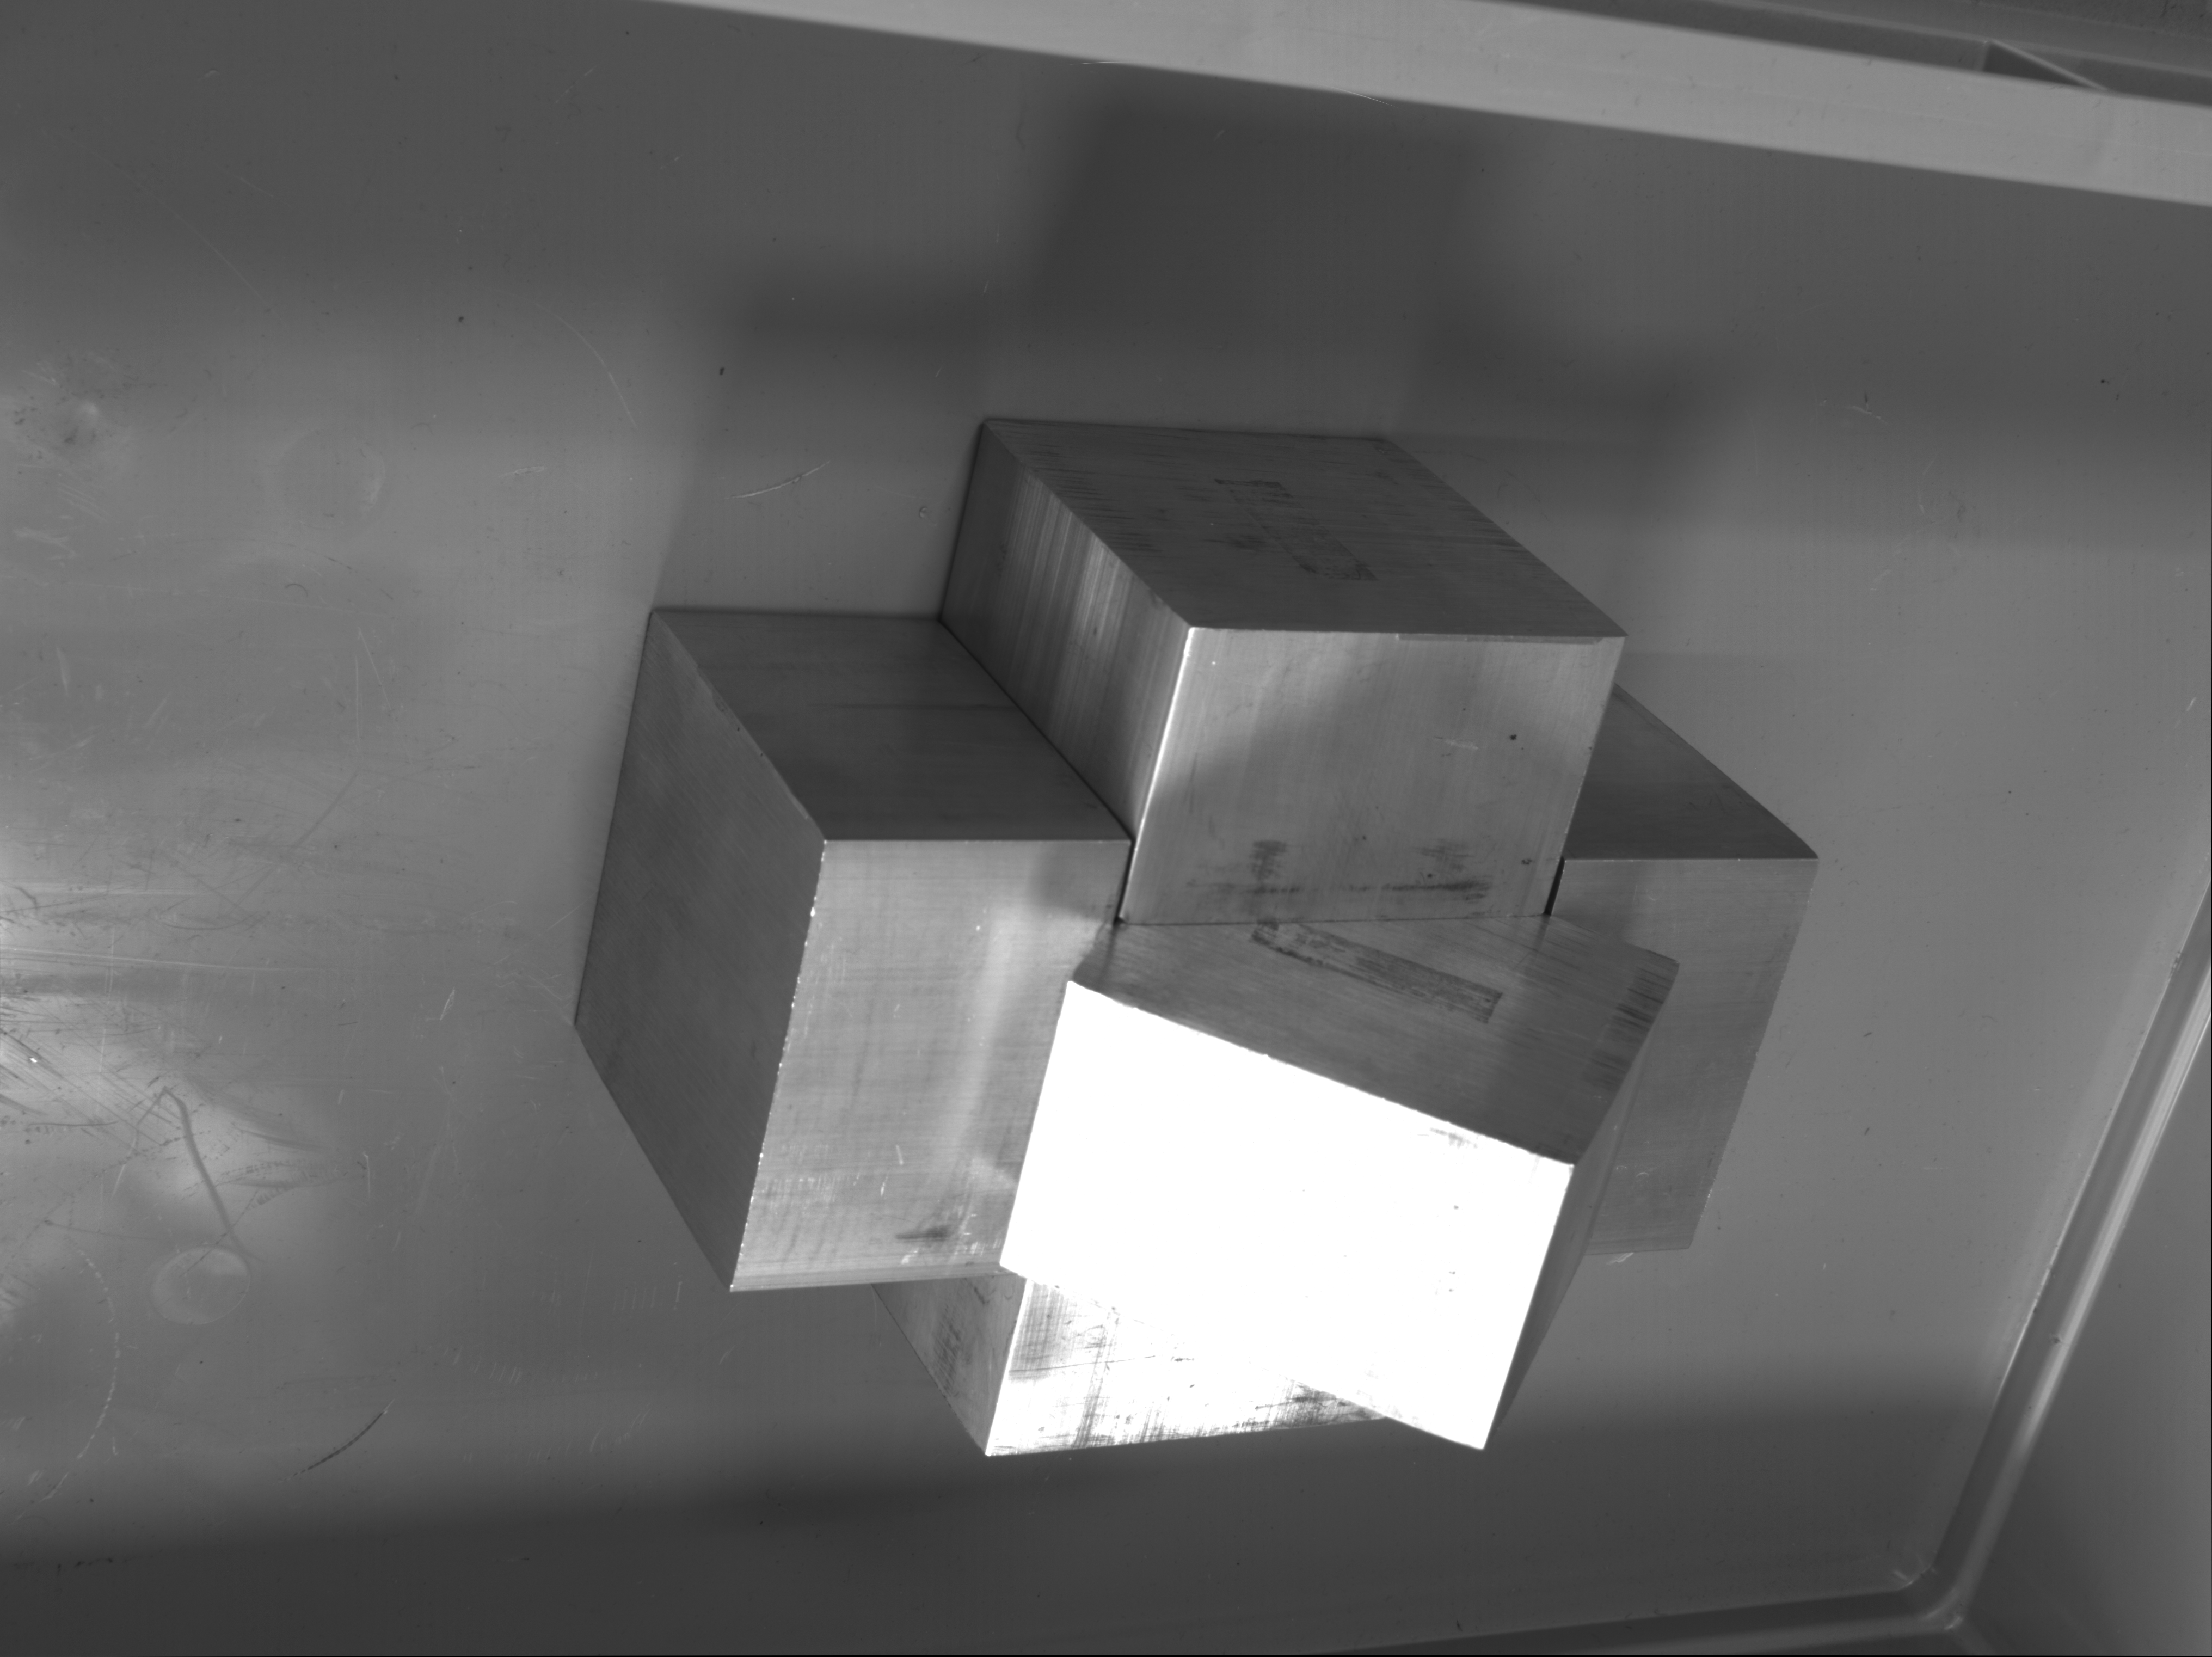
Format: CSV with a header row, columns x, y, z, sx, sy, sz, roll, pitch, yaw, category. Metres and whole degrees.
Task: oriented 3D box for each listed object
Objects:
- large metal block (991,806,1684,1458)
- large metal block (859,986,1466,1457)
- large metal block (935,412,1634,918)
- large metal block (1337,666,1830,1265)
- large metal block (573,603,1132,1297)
x,y,z,sx,sy,sz,roll,pitch,yaw,category
0.038,0.044,0.575,0.080,0.080,0.050,-46,152,-62,large metal block
0.004,0.062,0.640,0.080,0.080,0.050,0,118,-28,large metal block
0.026,-0.027,0.598,0.080,0.080,0.050,0,118,-28,large metal block
0.074,0.022,0.651,0.050,0.080,0.080,0,118,-28,large metal block
-0.043,0.018,0.589,0.050,0.080,0.080,0,118,-28,large metal block
